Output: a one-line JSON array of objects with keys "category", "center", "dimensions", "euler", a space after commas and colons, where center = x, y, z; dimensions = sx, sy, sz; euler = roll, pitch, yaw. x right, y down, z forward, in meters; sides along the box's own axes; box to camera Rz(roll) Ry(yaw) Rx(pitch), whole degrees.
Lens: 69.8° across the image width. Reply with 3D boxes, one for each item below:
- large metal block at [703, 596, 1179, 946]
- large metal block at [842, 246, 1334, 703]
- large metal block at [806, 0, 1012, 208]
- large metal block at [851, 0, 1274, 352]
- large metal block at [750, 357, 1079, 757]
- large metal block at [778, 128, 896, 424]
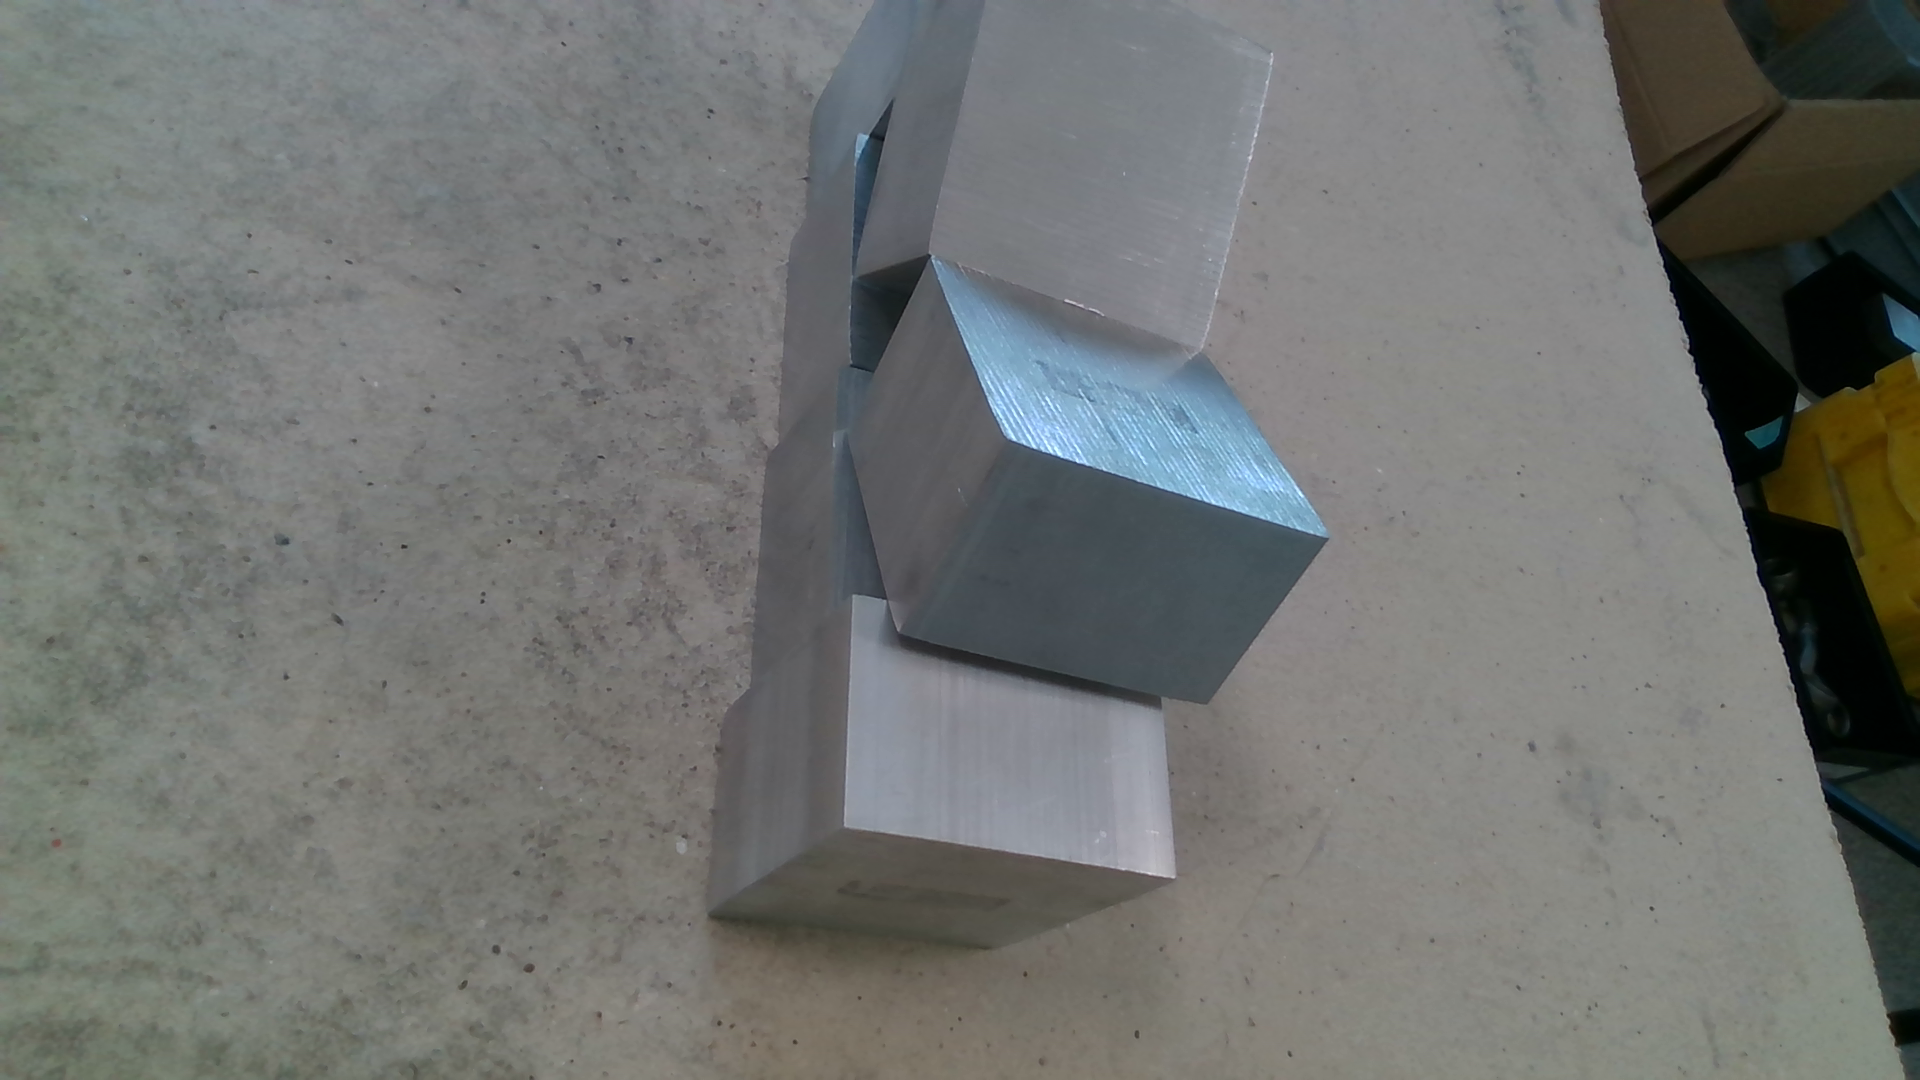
[{"category": "large metal block", "center": [-0.007, 0.059, 0.324], "dimensions": [0.080, 0.080, 0.050], "euler": [14, 59, -25]}, {"category": "large metal block", "center": [0.025, -0.015, 0.316], "dimensions": [0.080, 0.050, 0.080], "euler": [15, 31, -25]}, {"category": "large metal block", "center": [0.005, -0.127, 0.428], "dimensions": [0.080, 0.080, 0.050], "euler": [14, 58, -26]}, {"category": "large metal block", "center": [0.026, -0.097, 0.360], "dimensions": [0.080, 0.050, 0.080], "euler": [15, 88, -25]}, {"category": "large metal block", "center": [-0.007, 0.008, 0.367], "dimensions": [0.080, 0.050, 0.080], "euler": [14, 59, -25]}, {"category": "large metal block", "center": [-0.005, -0.062, 0.407], "dimensions": [0.080, 0.050, 0.080], "euler": [14, 59, -25]}]
